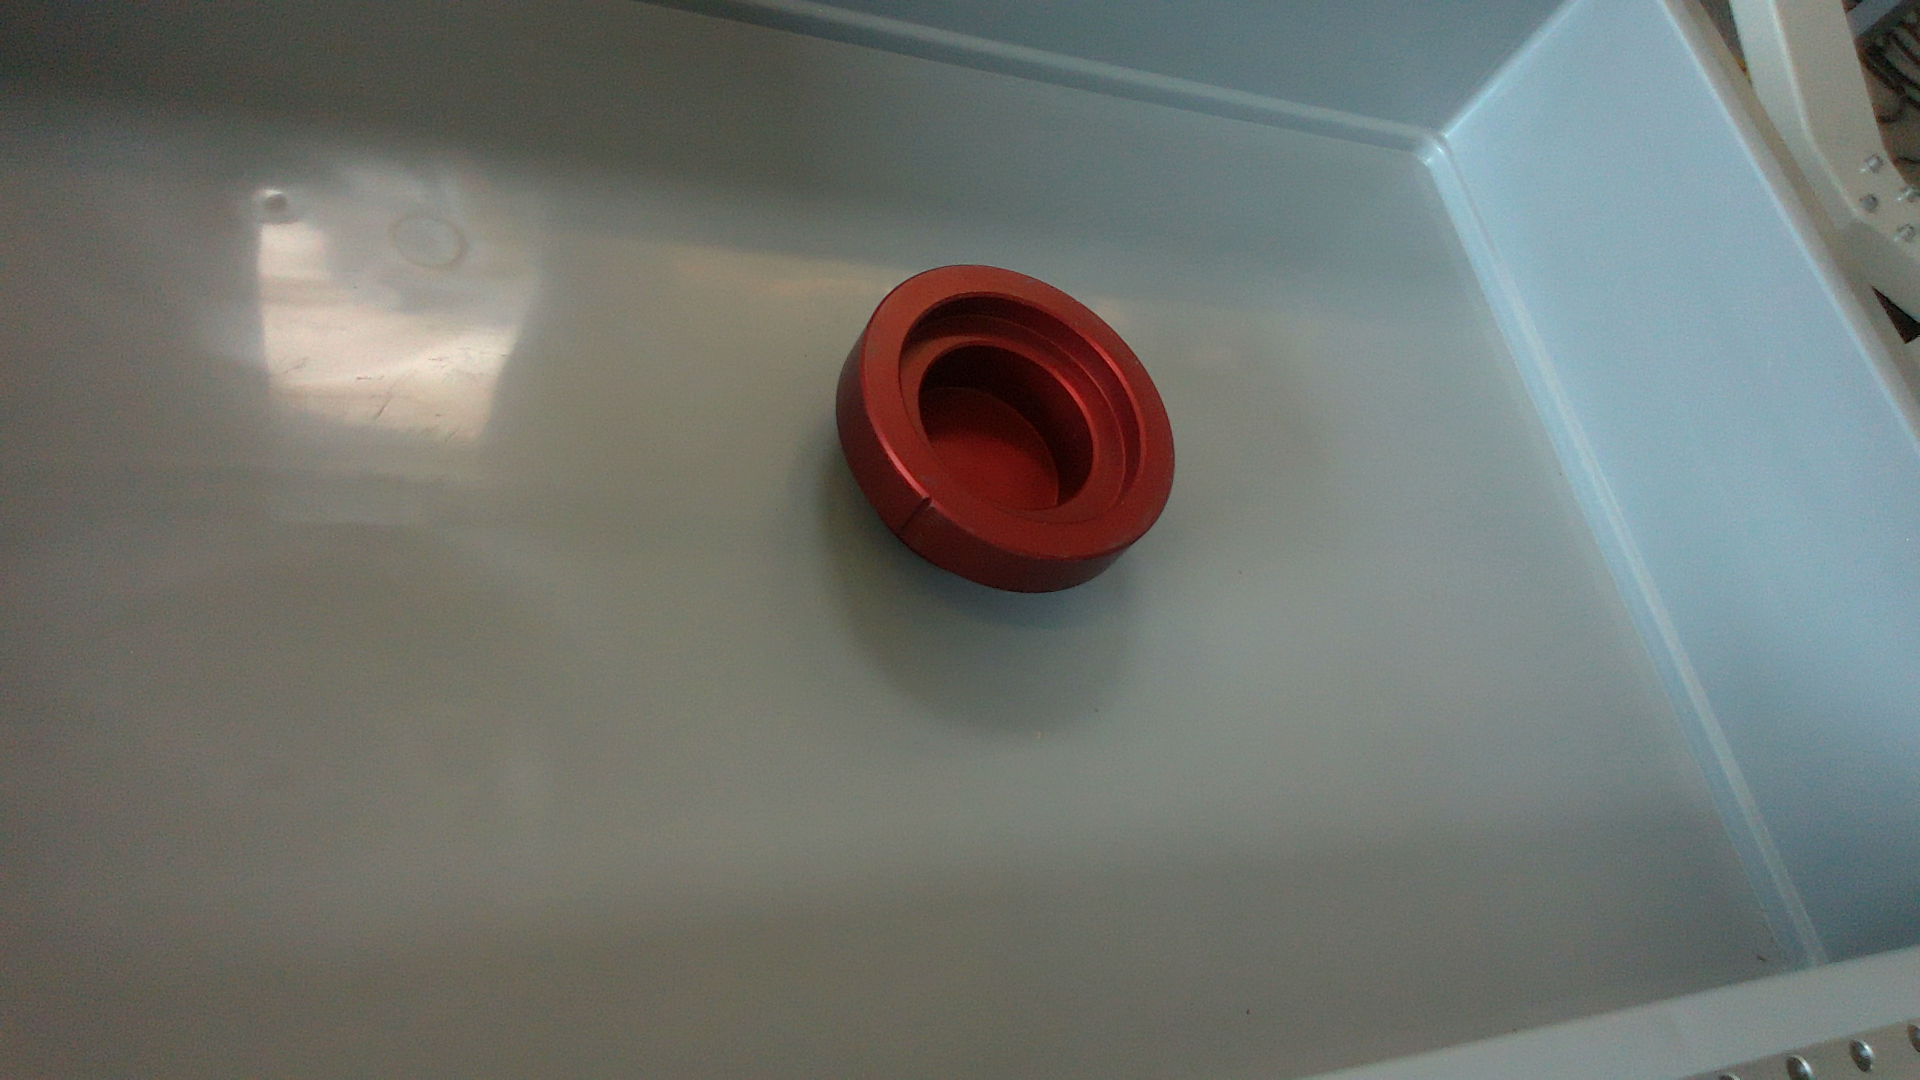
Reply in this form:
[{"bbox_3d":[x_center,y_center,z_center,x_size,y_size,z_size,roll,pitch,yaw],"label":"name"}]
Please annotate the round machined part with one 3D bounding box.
[{"bbox_3d":[0.010,-0.028,0.398,0.098,0.042,0.098,14,56,-21],"label":"round machined part"}]
